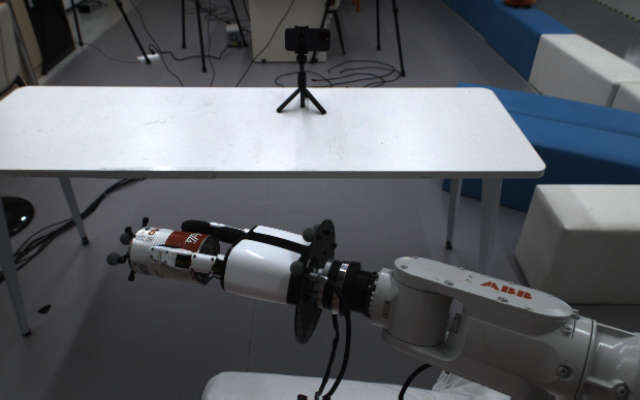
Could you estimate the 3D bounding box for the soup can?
[{"bbox_3d":[-0.194,0.075,0.655,0.101,0.067,0.067,6,35,12],"label":"soup can"}]
